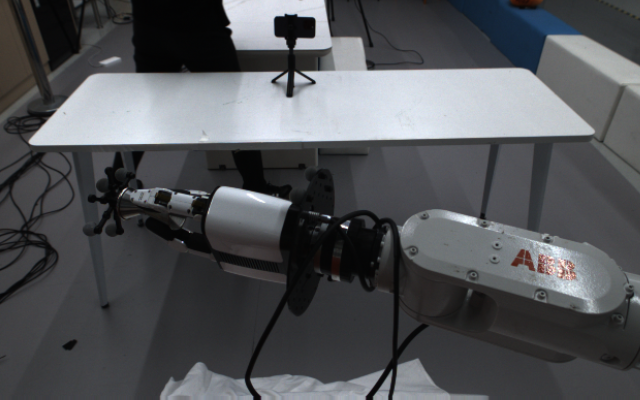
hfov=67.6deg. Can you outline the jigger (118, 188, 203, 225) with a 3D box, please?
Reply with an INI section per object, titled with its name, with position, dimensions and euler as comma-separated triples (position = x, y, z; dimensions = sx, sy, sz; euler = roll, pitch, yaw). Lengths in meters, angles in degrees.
[jigger]
position = -0.192, 0.006, 0.565
dimensions = 0.071, 0.043, 0.043
euler = 7, 35, 13
